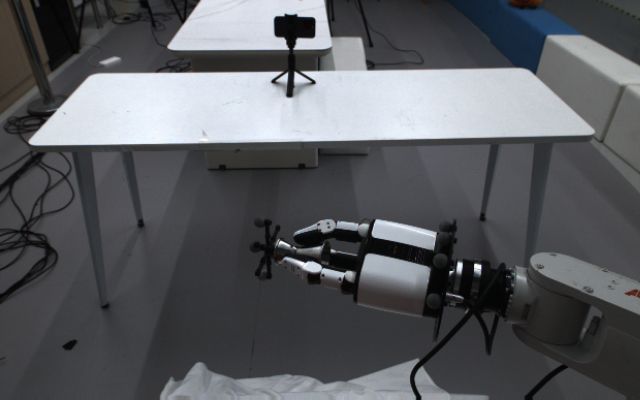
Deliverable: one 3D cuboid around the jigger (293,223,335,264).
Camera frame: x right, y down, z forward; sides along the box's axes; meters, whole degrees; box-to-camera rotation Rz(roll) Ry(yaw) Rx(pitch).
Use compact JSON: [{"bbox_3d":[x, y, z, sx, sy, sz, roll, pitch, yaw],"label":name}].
[{"bbox_3d":[-0.017,0.071,0.662,0.071,0.043,0.043,5,34,18],"label":"jigger"}]
